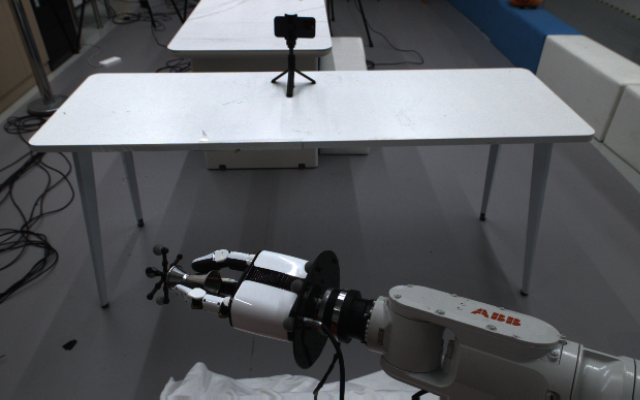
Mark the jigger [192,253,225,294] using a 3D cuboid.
[{"bbox_3d":[-0.181,0.118,0.717,0.071,0.043,0.043,6,34,21],"label":"jigger"}]
